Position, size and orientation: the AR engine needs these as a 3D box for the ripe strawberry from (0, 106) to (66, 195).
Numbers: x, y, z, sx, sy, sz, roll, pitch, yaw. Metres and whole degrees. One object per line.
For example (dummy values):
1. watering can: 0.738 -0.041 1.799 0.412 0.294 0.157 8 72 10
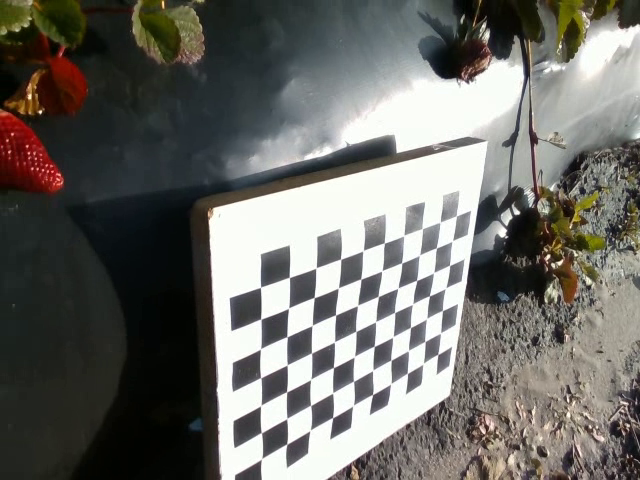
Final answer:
1. ripe strawberry: -0.144 -0.036 0.289 0.056 0.041 0.040 32 -4 -3
